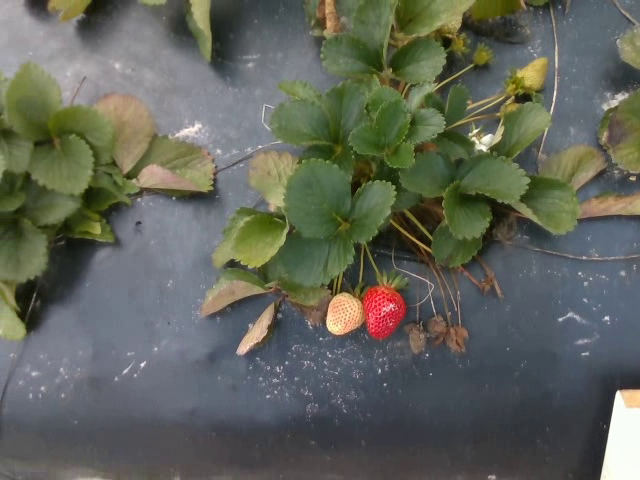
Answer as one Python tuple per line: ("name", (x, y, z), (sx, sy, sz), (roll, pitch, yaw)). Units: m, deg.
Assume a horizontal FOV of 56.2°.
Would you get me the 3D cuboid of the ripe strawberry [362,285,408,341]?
("ripe strawberry", (0.043, 0.052, 0.411), (0.034, 0.042, 0.033), (27, -32, -5))
